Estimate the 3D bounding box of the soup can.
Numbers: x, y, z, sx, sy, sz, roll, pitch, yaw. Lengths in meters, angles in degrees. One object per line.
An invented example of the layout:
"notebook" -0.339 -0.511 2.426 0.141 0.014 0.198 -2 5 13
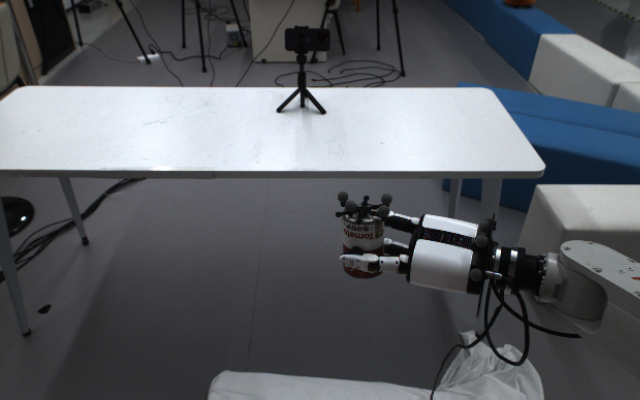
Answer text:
"soup can" 0.071 0.063 0.769 0.067 0.101 0.067 -3 27 2
